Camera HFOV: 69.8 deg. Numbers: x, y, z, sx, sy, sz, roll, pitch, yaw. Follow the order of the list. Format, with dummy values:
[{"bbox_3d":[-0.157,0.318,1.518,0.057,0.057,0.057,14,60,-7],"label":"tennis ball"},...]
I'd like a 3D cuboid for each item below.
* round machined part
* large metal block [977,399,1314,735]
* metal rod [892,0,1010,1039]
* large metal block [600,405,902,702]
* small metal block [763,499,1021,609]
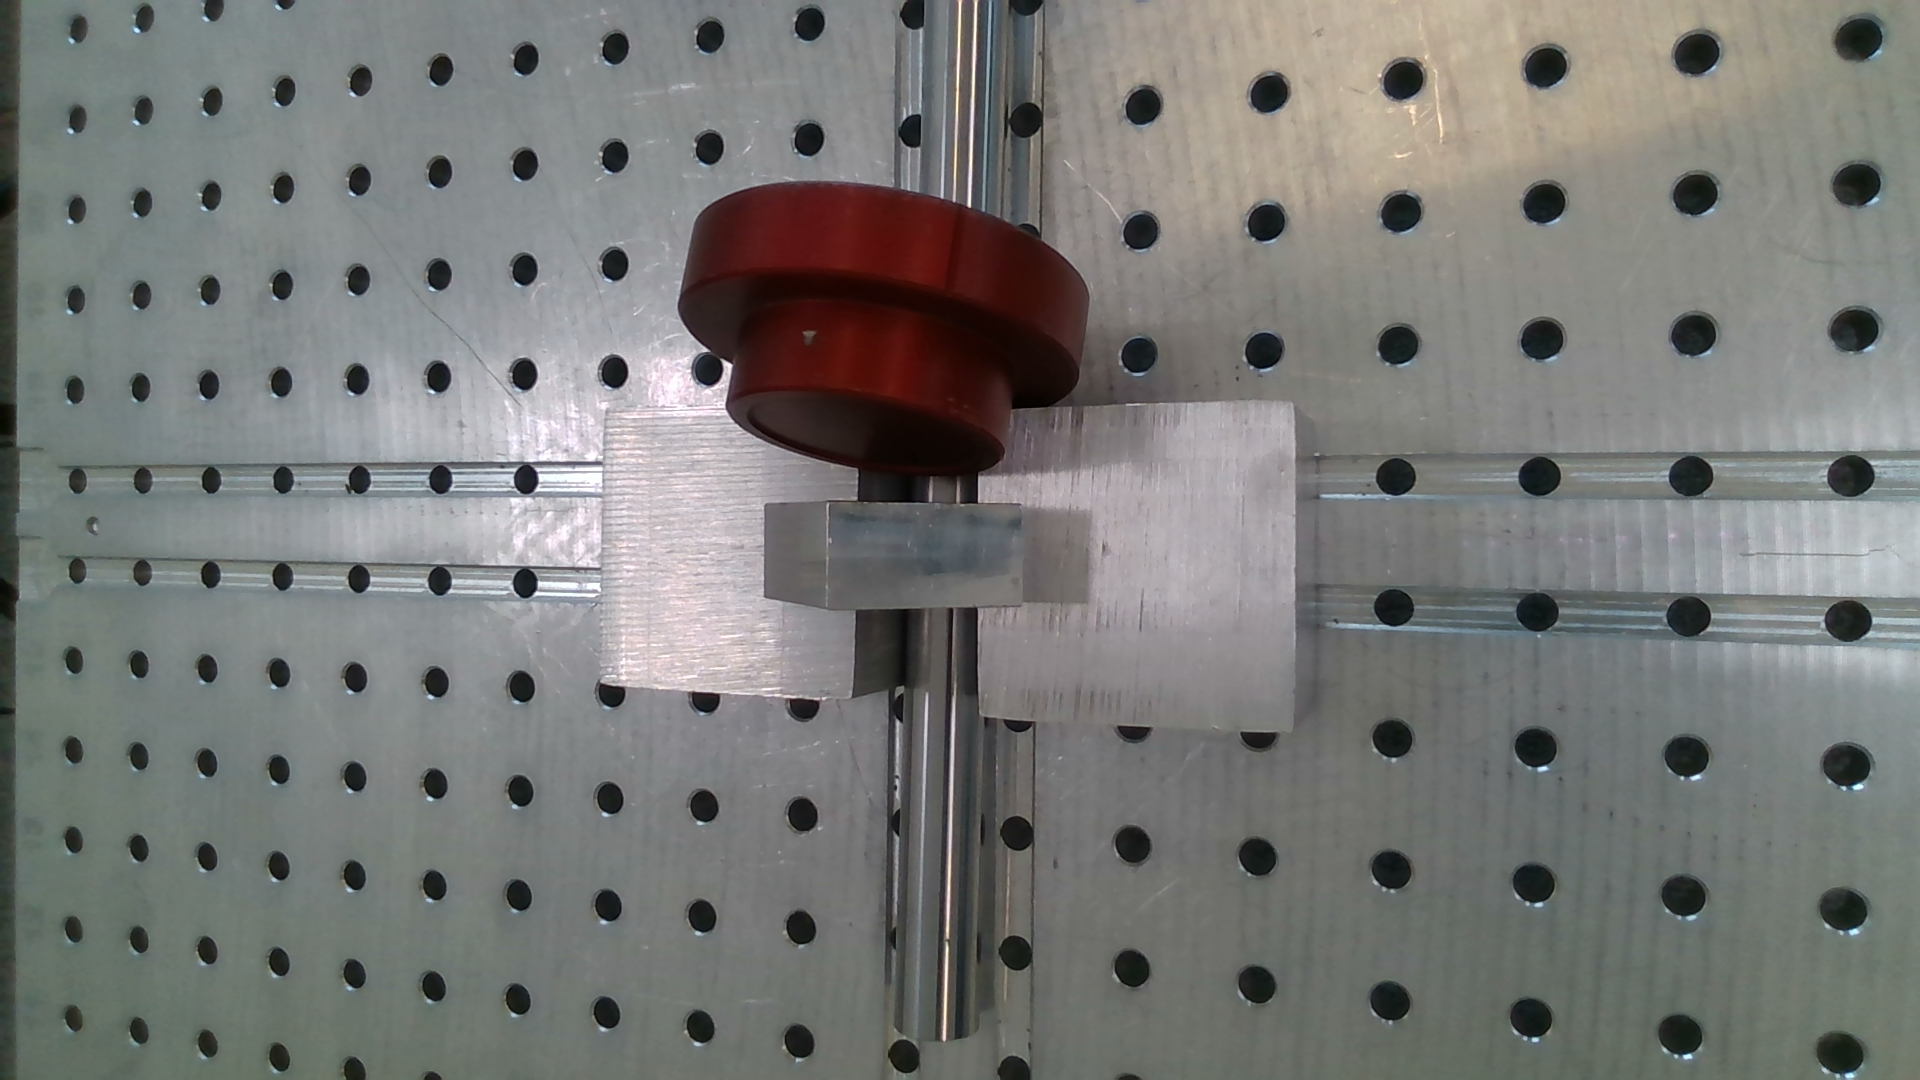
[{"bbox_3d":[-0.020,-0.045,0.334,0.098,0.098,0.042,4,77,20],"label":"round machined part"},{"bbox_3d":[0.051,0.006,0.364,0.080,0.050,0.080,1,91,20],"label":"large metal block"},{"bbox_3d":[-0.003,-0.010,0.397,0.025,0.025,0.300,2,91,20],"label":"metal rod"},{"bbox_3d":[-0.057,0.002,0.404,0.080,0.050,0.080,1,91,20],"label":"large metal block"},{"bbox_3d":[-0.018,0.003,0.343,0.050,0.050,0.025,0,90,-24],"label":"small metal block"}]
